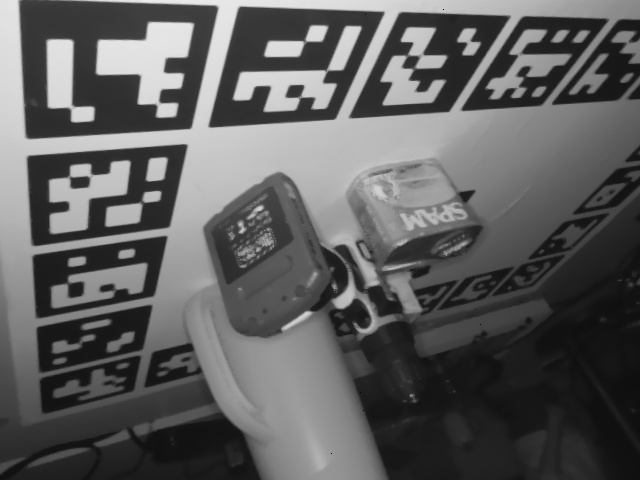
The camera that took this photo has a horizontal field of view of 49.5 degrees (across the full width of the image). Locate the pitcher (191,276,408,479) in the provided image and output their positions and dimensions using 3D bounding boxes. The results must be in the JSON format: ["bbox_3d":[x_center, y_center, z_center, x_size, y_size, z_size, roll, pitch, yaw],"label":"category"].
[{"bbox_3d":[-0.022,0.151,0.682,0.132,0.242,0.191,-42,152,20],"label":"pitcher"}]

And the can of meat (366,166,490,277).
[{"bbox_3d":[0.104,-0.020,0.653,0.103,0.084,0.057,-8,147,-26],"label":"can of meat"}]

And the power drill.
[{"bbox_3d":[0.042,0.064,0.643,0.057,0.184,0.189,-40,140,18],"label":"power drill"}]

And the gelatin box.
[{"bbox_3d":[0.079,0.071,0.787,0.091,0.073,0.030,1,136,-35],"label":"gelatin box"}]

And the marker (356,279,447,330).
[{"bbox_3d":[0.103,0.079,0.864,0.121,0.019,0.019,-23,149,-6],"label":"marker"}]
